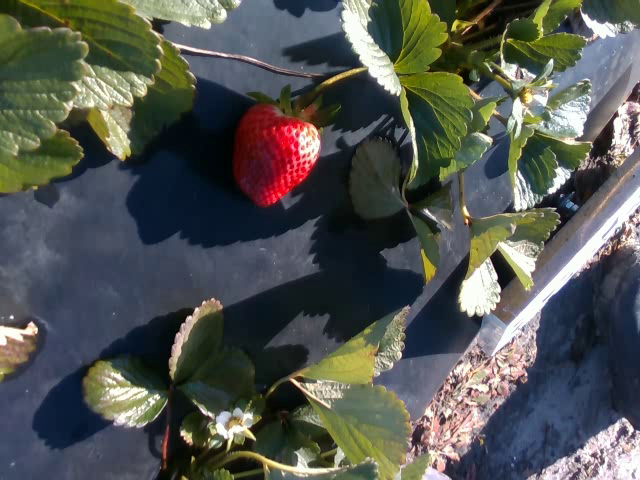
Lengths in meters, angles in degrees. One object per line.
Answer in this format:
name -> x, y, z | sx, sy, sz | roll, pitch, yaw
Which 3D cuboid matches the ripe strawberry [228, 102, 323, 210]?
ripe strawberry -> -0.021, -0.039, 0.271 | 0.044, 0.056, 0.041 | 21, -3, 16
